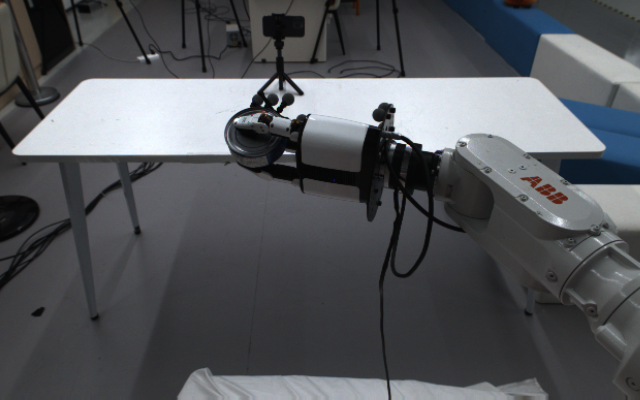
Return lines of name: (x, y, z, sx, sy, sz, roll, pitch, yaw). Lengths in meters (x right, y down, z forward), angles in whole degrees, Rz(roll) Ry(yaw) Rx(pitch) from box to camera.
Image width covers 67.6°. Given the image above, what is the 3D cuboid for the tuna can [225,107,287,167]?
tuna can: (-0.091, -0.090, 0.692, 0.085, 0.034, 0.085, -2, 60, 3)
